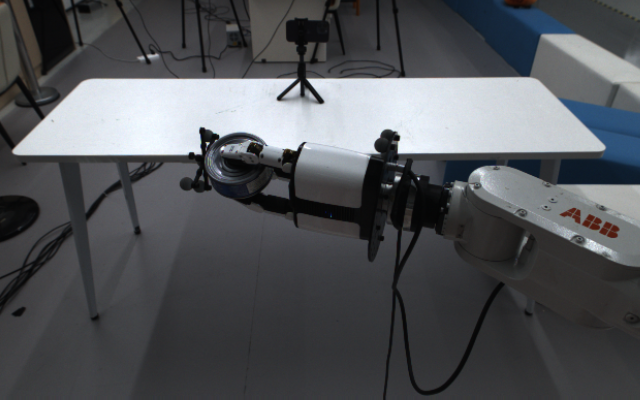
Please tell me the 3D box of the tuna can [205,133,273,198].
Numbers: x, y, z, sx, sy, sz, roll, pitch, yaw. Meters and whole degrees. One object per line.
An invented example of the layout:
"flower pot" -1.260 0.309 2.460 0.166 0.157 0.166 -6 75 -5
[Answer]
"tuna can" -0.104 -0.047 0.628 0.085 0.034 0.085 -2 58 3
